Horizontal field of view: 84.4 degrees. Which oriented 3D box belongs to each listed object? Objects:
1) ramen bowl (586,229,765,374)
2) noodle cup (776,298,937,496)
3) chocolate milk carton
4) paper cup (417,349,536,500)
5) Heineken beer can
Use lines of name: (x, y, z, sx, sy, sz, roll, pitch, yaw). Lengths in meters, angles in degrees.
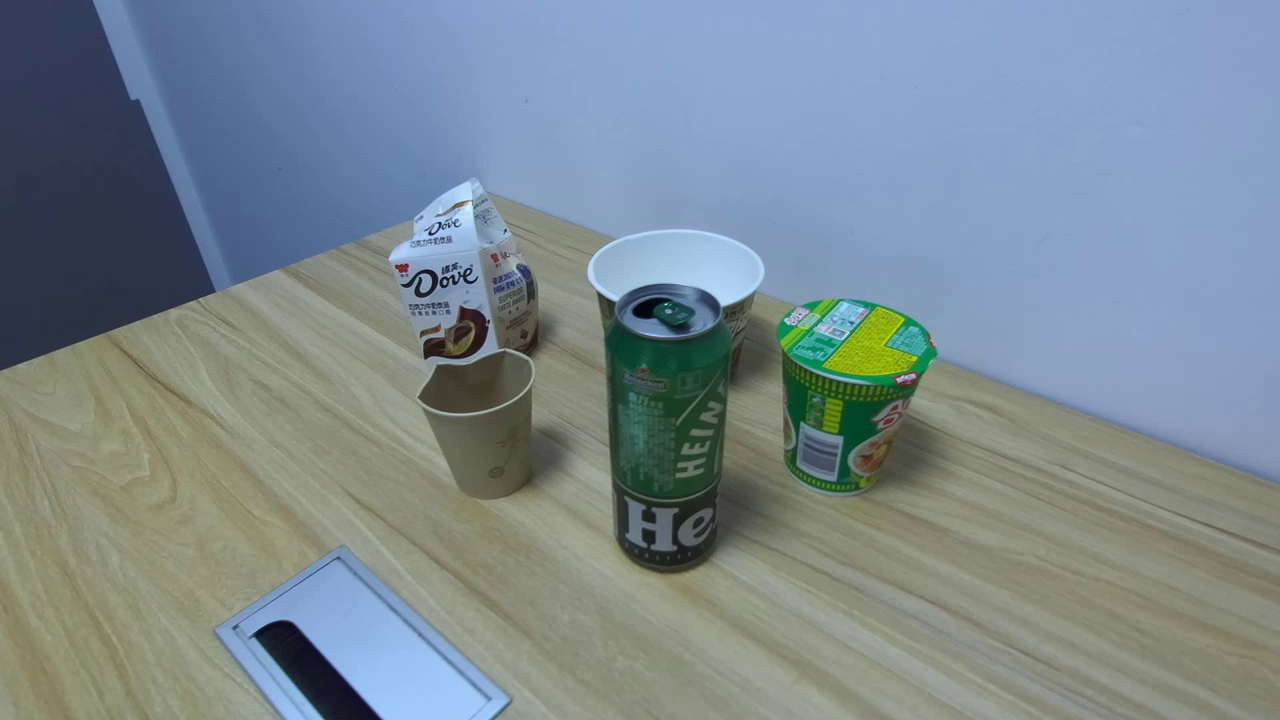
ramen bowl: (0.029, -0.038, 0.589, 0.140, 0.095, 0.140, 0, 36, 0)
noodle cup: (0.136, 0.030, 0.476, 0.097, 0.110, 0.097, 0, 35, 0)
chocolate milk carton: (-0.144, -0.065, 0.587, 0.089, 0.156, 0.077, -6, 28, 18)
paper cup: (-0.103, 0.046, 0.480, 0.069, 0.081, 0.073, 6, 35, 9)
Heineken beer can: (0.016, 0.043, 0.407, 0.067, 0.169, 0.067, -1, 34, 1)
